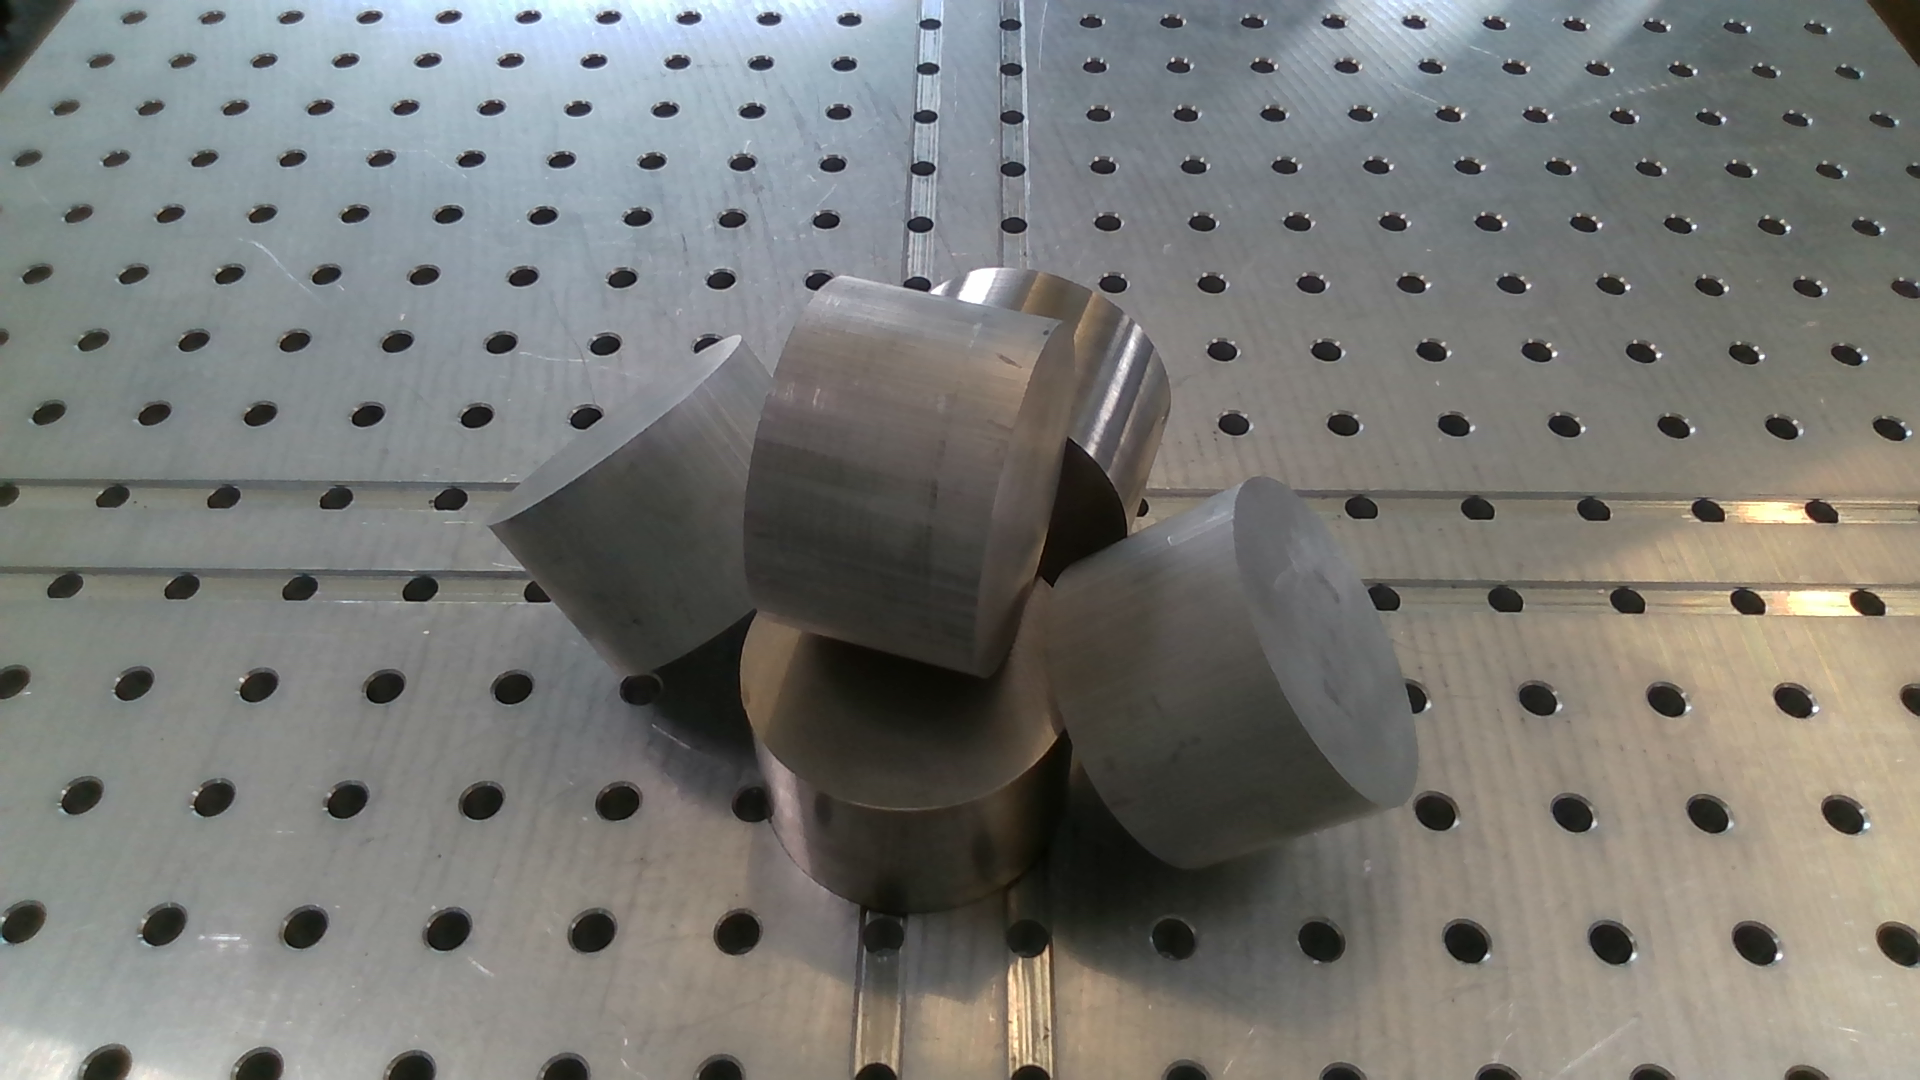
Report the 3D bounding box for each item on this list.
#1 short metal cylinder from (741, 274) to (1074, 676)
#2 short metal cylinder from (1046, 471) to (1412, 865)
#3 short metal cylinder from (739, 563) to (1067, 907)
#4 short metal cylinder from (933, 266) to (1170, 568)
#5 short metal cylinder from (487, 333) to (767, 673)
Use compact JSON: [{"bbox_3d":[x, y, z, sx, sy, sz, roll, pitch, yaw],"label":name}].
[{"bbox_3d":[-0.009,-0.015,0.307,0.050,0.080,0.080,14,52,11],"label":"short metal cylinder"},{"bbox_3d":[0.064,0.031,0.326,0.050,0.080,0.080,-27,42,31],"label":"short metal cylinder"},{"bbox_3d":[-0.012,0.043,0.343,0.080,0.050,0.080,1,50,-1],"label":"short metal cylinder"},{"bbox_3d":[0.014,-0.029,0.384,0.080,0.080,0.050,14,52,12],"label":"short metal cylinder"},{"bbox_3d":[-0.075,-0.011,0.362,0.080,0.050,0.080,-32,19,12],"label":"short metal cylinder"}]
